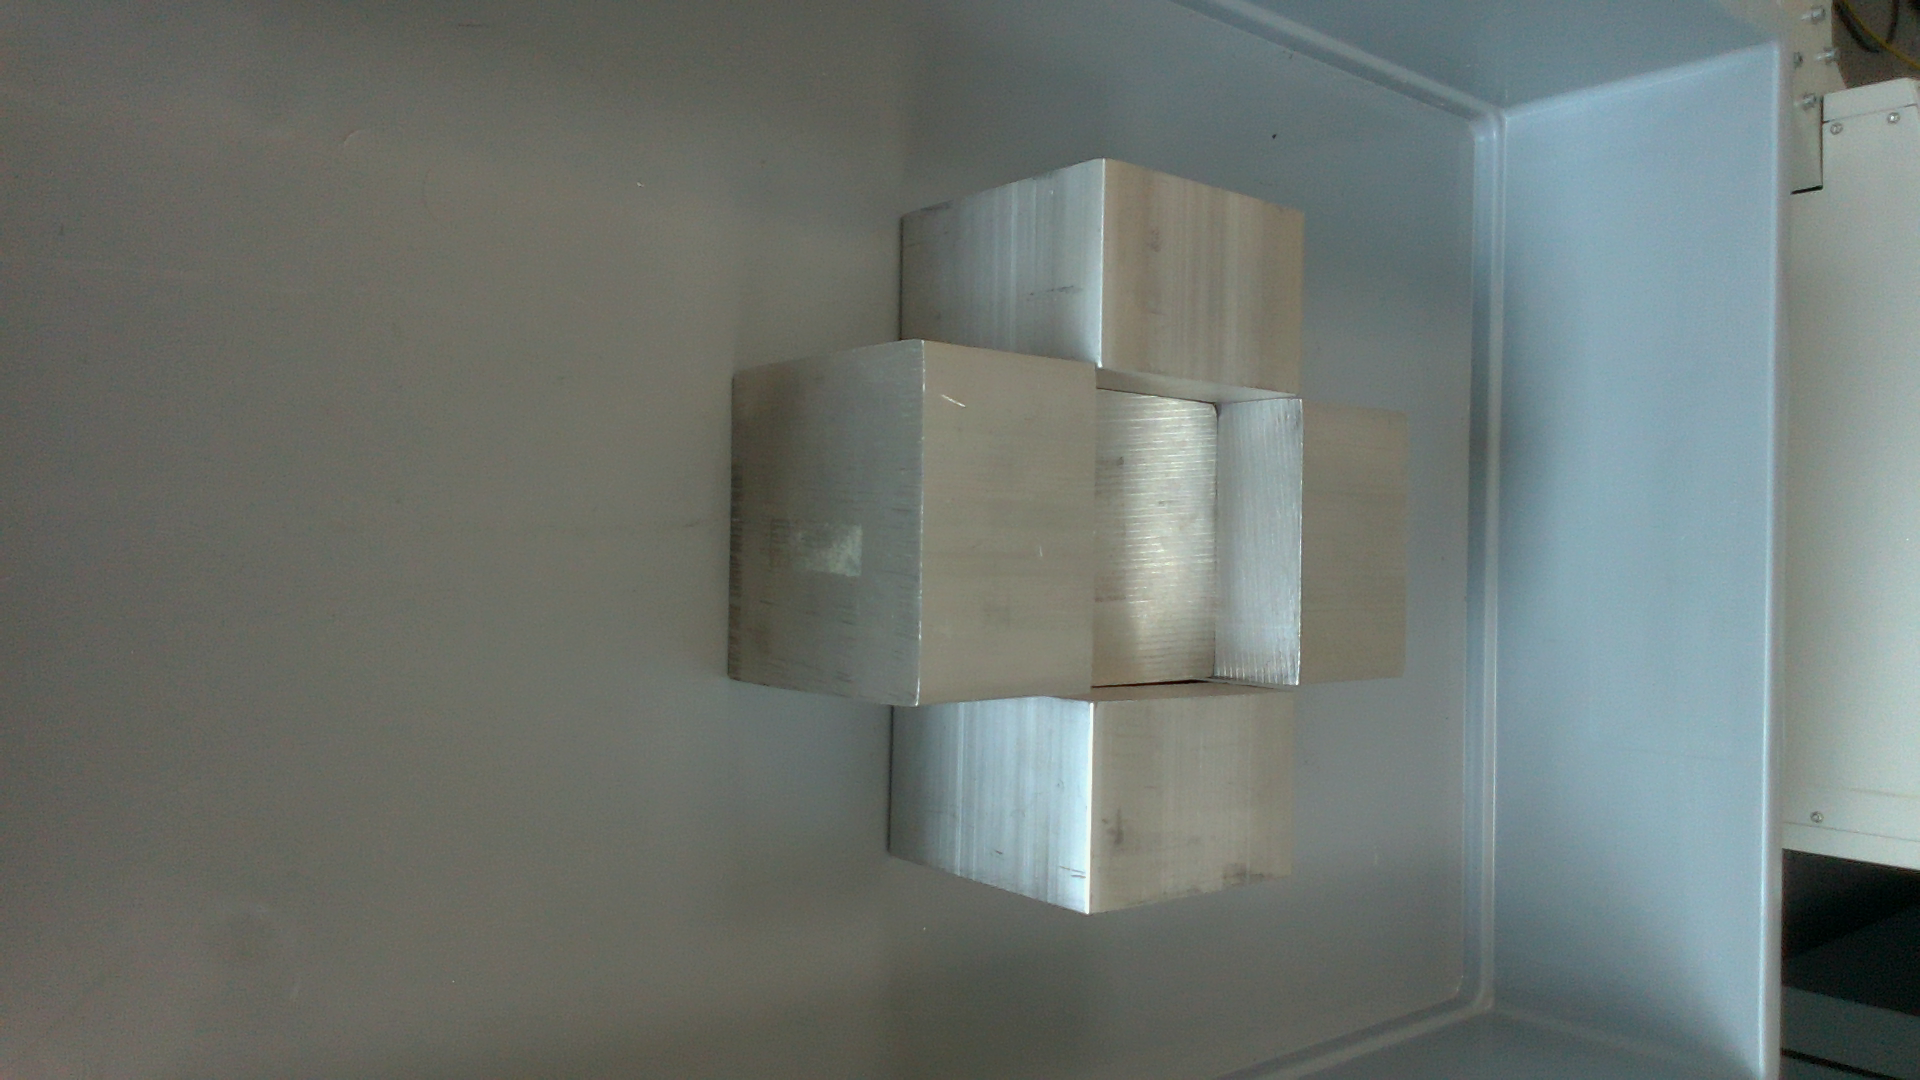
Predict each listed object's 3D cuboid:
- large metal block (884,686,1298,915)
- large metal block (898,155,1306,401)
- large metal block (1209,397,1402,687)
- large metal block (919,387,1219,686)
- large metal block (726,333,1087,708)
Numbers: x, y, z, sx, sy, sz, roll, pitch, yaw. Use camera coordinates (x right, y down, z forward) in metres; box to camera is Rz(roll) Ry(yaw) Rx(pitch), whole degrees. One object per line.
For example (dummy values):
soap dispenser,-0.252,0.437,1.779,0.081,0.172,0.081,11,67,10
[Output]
large metal block,0.036,0.065,0.381,0.080,0.080,0.050,2,88,-40
large metal block,0.039,-0.066,0.384,0.080,0.080,0.050,1,89,-40
large metal block,0.087,0.001,0.425,0.050,0.080,0.080,1,89,-40
large metal block,0.028,-0.001,0.394,0.080,0.050,0.080,1,89,-40
large metal block,-0.015,-0.004,0.340,0.050,0.080,0.080,1,89,-40
